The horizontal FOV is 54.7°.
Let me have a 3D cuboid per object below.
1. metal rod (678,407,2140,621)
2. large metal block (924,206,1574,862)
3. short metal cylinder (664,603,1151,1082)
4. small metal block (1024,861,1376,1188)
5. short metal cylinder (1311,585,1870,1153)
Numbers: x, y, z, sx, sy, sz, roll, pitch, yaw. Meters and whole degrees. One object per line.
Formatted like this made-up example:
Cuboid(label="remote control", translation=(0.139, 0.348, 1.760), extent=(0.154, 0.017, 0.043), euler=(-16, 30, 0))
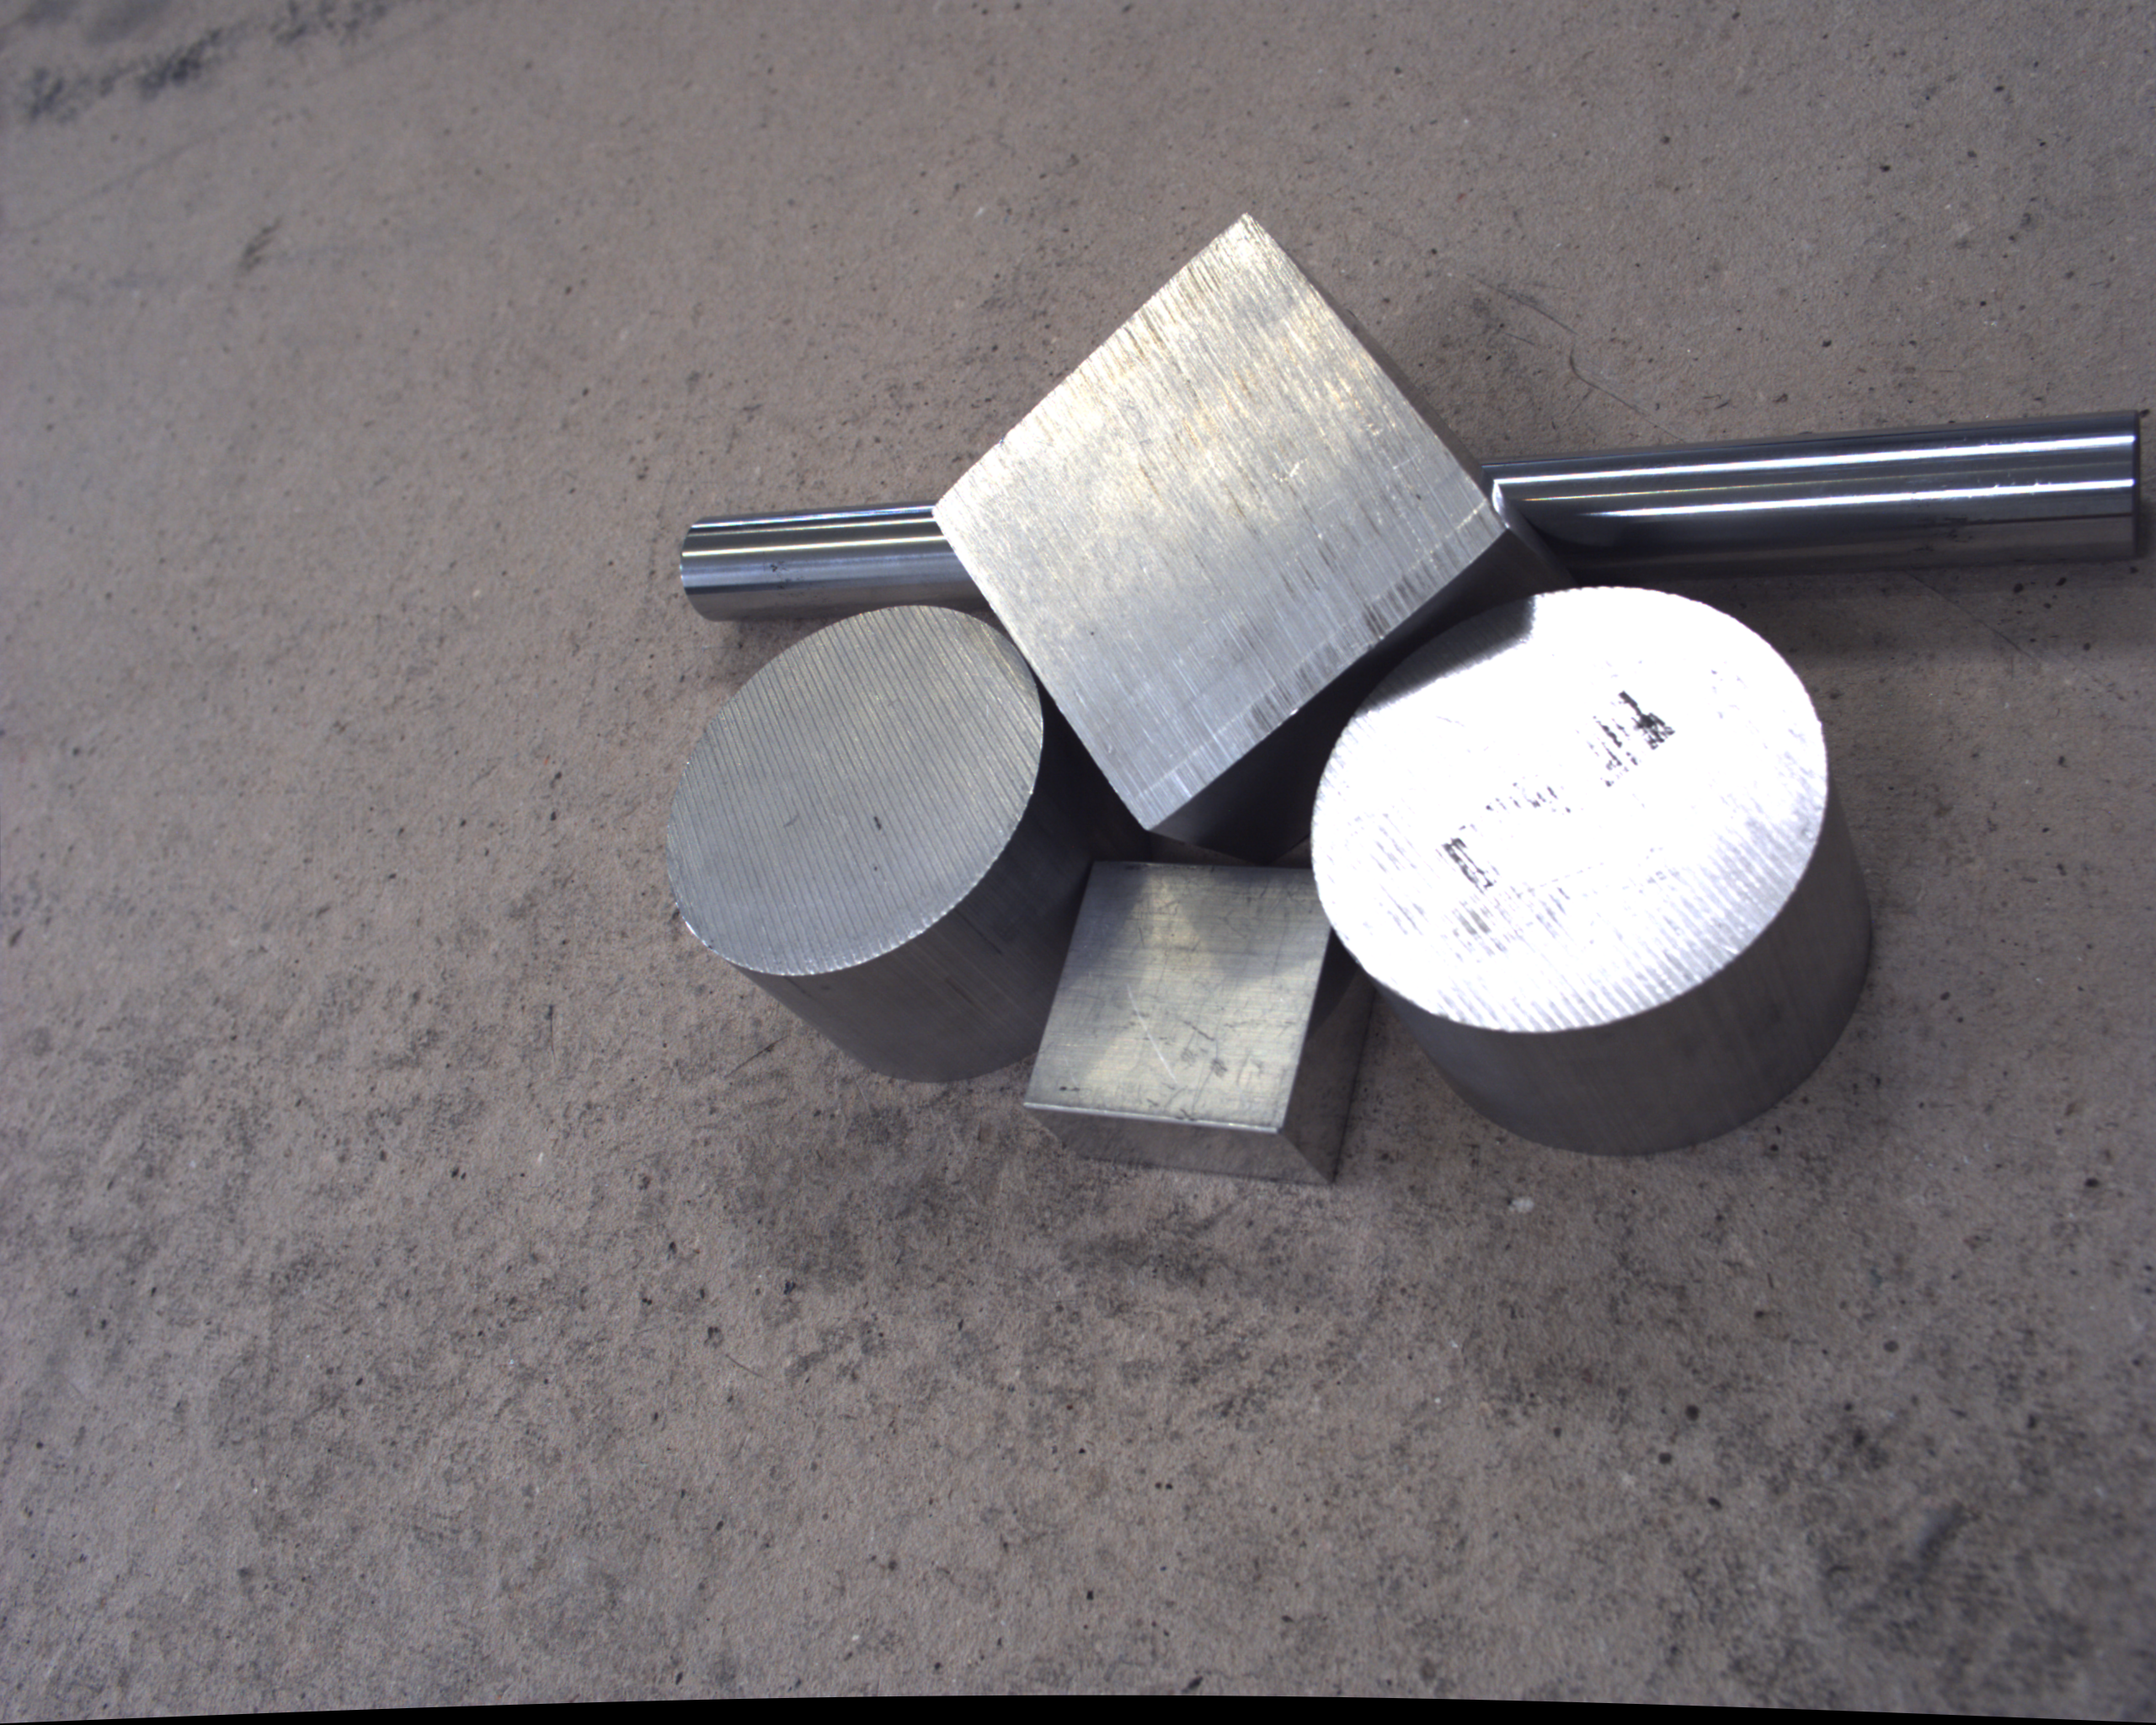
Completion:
Cuboid(label="metal rod", translation=(0.046, -0.067, 0.422), extent=(0.300, 0.025, 0.025), euler=(1, 62, 28))
Cuboid(label="large metal block", translation=(0.032, -0.057, 0.384), extent=(0.080, 0.050, 0.080), euler=(-41, 66, 17))
Cuboid(label="short metal cylinder", translation=(-0.033, -0.004, 0.408), extent=(0.080, 0.050, 0.080), euler=(-13, 56, 21))
Cuboid(label="small metal block", translation=(0.024, 0.028, 0.376), extent=(0.050, 0.025, 0.050), euler=(2, 63, 29))
Cuboid(label="short metal cylinder", translation=(0.085, 0.001, 0.344), extent=(0.080, 0.050, 0.080), euler=(-13, 56, 21))
